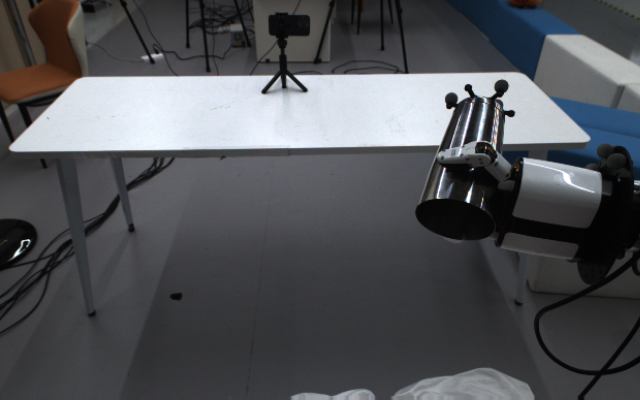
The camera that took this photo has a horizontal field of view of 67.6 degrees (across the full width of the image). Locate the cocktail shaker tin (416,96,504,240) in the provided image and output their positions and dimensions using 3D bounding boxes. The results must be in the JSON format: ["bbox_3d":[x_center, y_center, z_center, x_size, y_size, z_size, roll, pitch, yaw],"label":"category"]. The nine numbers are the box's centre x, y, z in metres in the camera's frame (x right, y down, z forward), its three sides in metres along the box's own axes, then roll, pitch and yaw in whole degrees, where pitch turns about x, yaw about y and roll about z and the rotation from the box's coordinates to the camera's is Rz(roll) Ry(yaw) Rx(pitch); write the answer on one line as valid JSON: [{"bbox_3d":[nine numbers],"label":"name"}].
[{"bbox_3d":[0.184,-0.046,0.603,0.093,0.093,0.170,13,60,16],"label":"cocktail shaker tin"}]
